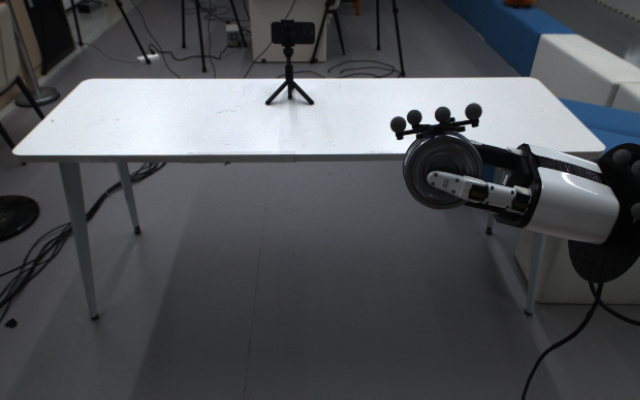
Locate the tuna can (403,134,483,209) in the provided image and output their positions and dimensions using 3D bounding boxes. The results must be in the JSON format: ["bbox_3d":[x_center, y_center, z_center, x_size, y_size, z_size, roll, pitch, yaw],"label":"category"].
[{"bbox_3d":[0.140,-0.028,0.537,0.085,0.085,0.034,6,18,5],"label":"tuna can"}]
